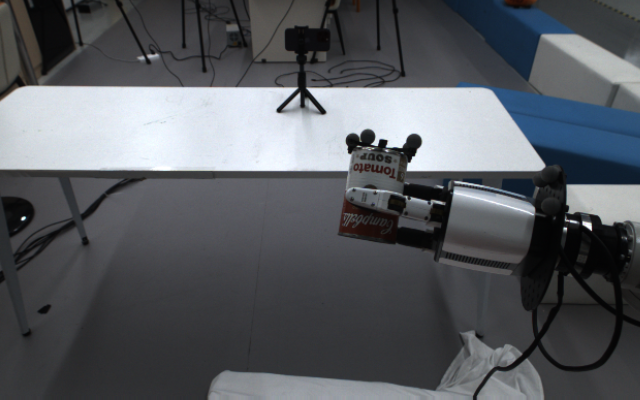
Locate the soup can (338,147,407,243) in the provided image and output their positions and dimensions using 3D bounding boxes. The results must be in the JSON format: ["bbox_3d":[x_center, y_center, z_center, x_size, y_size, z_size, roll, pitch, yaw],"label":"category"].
[{"bbox_3d":[0.063,-0.006,0.560,0.067,0.101,0.067,9,-5,1],"label":"soup can"}]
